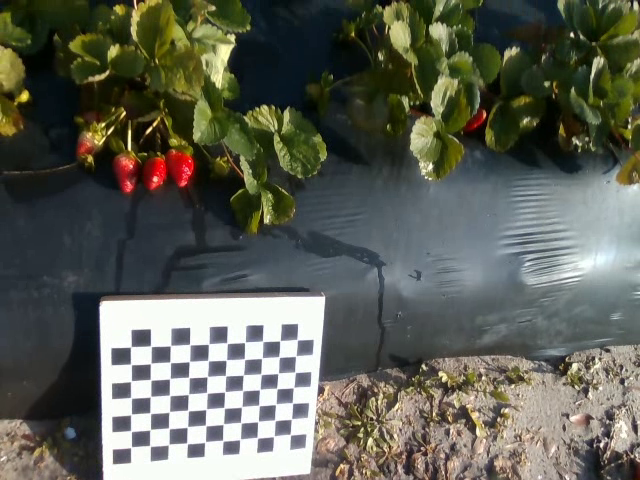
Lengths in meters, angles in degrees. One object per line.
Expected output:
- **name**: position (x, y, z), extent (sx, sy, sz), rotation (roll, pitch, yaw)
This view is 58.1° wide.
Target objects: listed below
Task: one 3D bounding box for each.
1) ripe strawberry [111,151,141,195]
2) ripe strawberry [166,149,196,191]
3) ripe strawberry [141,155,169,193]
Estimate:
- **ripe strawberry**: position (-0.213, -0.074, 0.633), extent (0.031, 0.046, 0.023), rotation (0, -3, -13)
- **ripe strawberry**: position (-0.156, -0.074, 0.643), extent (0.035, 0.041, 0.034), rotation (-4, -38, -12)
- **ripe strawberry**: position (-0.183, -0.073, 0.632), extent (0.030, 0.037, 0.039), rotation (10, 35, -14)
